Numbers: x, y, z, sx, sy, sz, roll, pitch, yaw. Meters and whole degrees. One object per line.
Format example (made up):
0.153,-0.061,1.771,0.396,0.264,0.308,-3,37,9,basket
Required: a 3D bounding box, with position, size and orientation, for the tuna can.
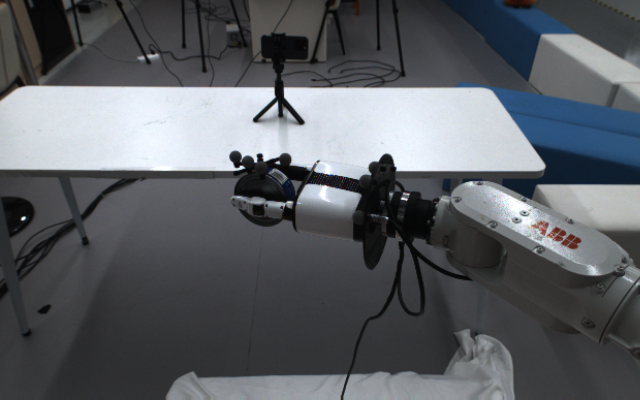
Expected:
-0.079,-0.008,0.706,0.085,0.085,0.034,14,29,17,tuna can
